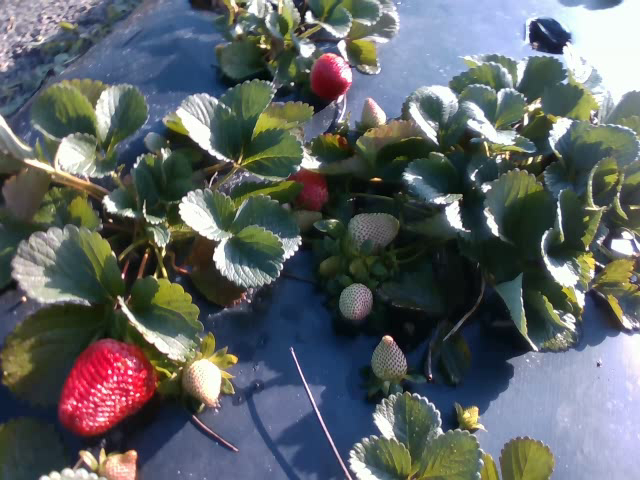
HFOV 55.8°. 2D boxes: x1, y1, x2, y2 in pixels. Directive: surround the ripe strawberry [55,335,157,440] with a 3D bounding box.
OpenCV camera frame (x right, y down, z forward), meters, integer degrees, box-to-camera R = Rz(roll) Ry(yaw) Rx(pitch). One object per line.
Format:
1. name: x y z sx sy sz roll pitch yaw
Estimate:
1. ripe strawberry: -0.128 0.087 0.351 0.057 0.055 0.072 -27 24 23
